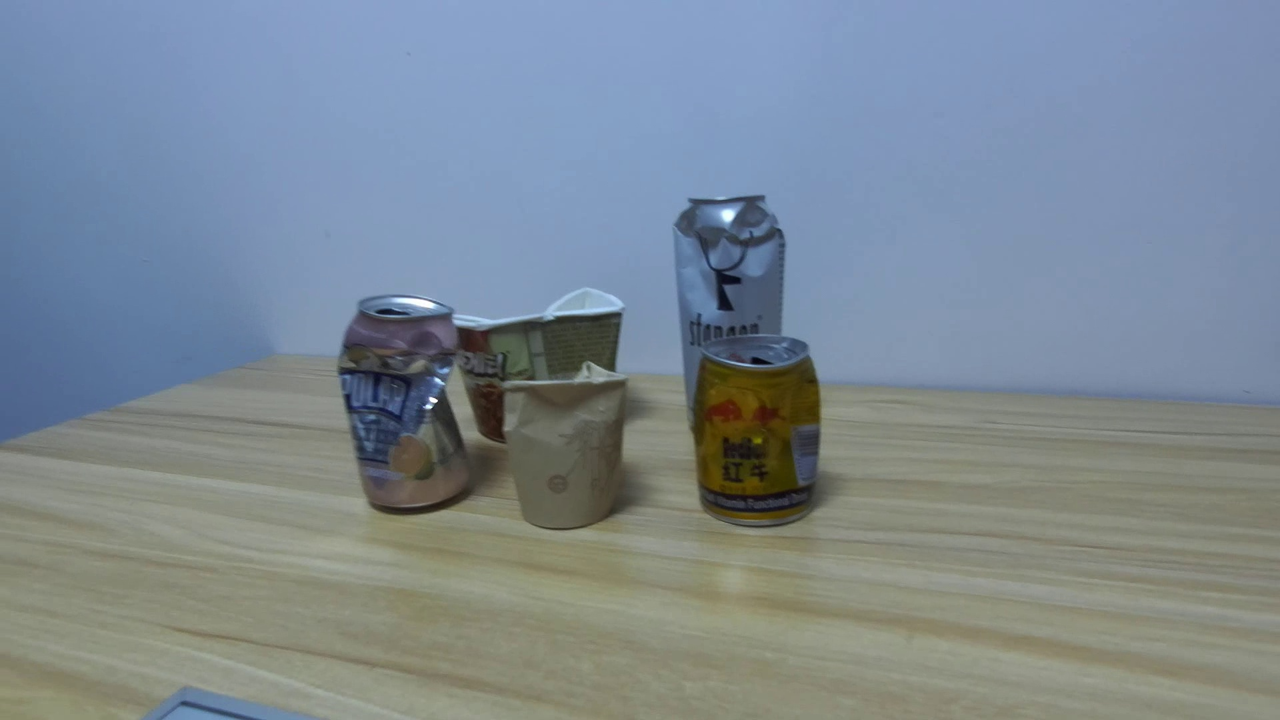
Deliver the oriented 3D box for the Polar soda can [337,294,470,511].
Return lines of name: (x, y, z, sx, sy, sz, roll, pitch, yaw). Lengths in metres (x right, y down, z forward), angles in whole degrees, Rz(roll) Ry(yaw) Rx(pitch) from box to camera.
Polar soda can: (-0.134, 0.025, 0.425, 0.070, 0.121, 0.067, 8, 14, 27)

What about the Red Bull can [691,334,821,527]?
Red Bull can: (0.063, 0.037, 0.392, 0.072, 0.092, 0.072, -2, 17, 1)

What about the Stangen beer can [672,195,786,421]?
Stangen beer can: (0.064, -0.030, 0.495, 0.066, 0.166, 0.065, -12, 16, -32)

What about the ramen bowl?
ramen bowl: (-0.080, 0.002, 0.537, 0.129, 0.093, 0.111, -10, 17, -22)

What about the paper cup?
paper cup: (-0.042, 0.045, 0.401, 0.066, 0.083, 0.058, -4, 14, -9)
